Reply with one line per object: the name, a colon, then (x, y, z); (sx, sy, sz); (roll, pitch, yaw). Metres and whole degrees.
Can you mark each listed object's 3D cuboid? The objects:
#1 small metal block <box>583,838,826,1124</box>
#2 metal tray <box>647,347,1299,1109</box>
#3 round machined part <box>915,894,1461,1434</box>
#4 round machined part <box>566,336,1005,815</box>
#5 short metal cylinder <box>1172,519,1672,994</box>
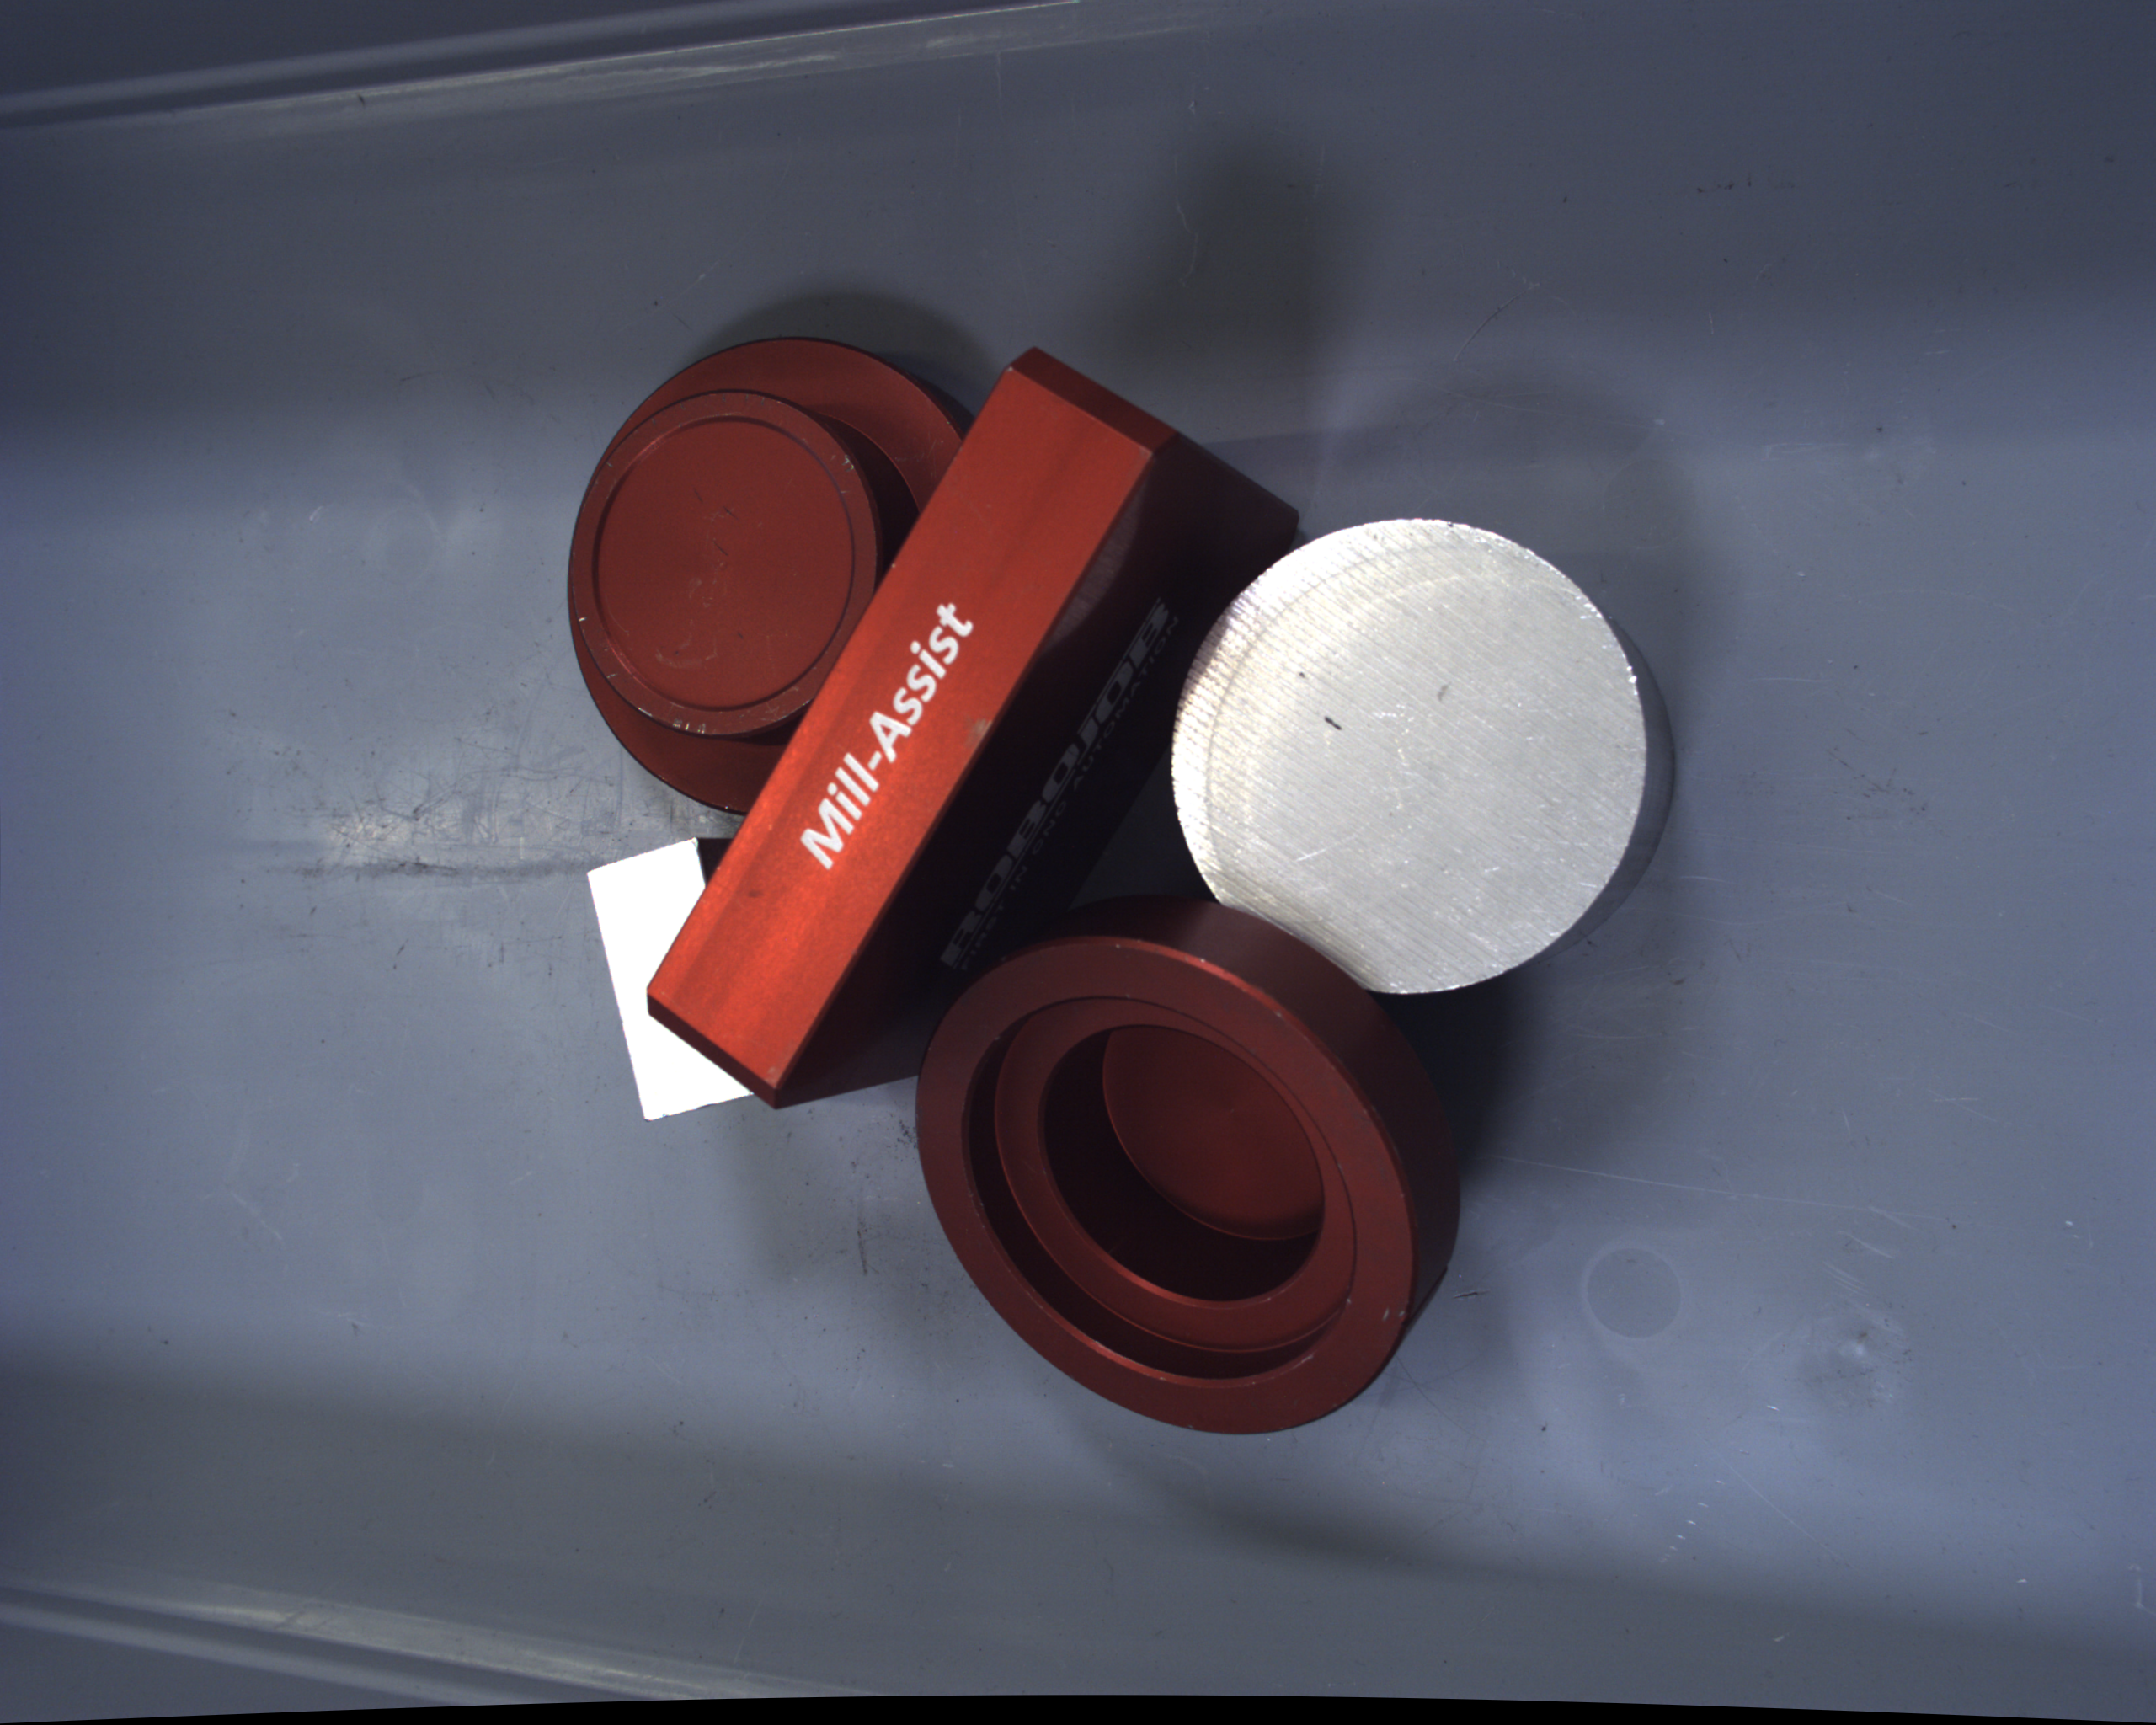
small metal block: (-0.069, 0.022, 0.419); (0.025, 0.050, 0.050); (-16, 85, 19)
metal tray: (-0.015, -0.021, 0.379); (0.030, 0.090, 0.129); (35, 101, 16)
round machined part: (0.023, 0.050, 0.379); (0.098, 0.042, 0.097); (12, 117, 26)
round machined part: (-0.062, -0.058, 0.420); (0.098, 0.042, 0.097); (0, 90, 19)
short metal cylinder: (0.063, -0.018, 0.373); (0.080, 0.050, 0.079); (0, 90, 20)
